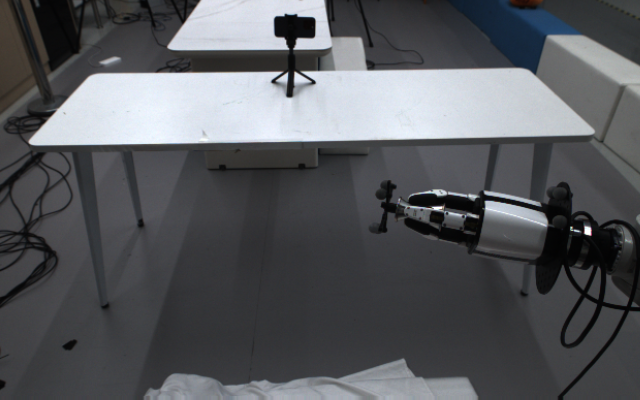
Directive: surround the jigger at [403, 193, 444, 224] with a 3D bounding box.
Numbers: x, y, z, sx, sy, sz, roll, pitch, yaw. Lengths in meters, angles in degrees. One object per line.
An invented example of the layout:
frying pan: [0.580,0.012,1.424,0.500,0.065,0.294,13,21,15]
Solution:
jigger: [0.156,0.016,0.725,0.071,0.043,0.043,10,35,16]
